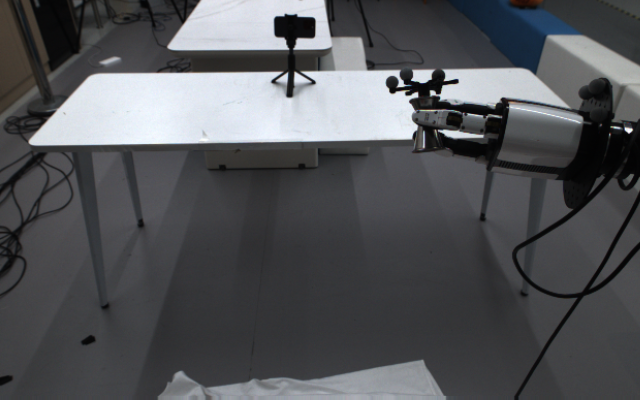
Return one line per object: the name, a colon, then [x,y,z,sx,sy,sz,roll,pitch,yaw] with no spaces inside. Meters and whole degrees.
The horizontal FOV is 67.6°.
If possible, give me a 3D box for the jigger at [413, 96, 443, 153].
jigger: [0.138,-0.098,0.632,0.043,0.071,0.043,-4,1,0]
